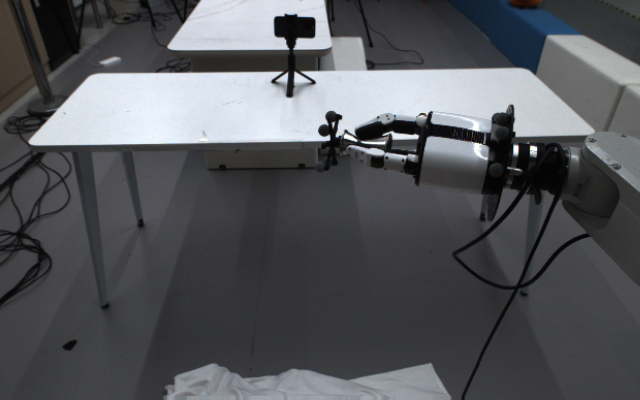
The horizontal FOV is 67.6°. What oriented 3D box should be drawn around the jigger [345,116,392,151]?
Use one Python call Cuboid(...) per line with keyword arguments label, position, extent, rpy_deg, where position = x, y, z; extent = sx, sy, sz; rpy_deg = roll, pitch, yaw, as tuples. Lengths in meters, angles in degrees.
Cuboid(label="jigger", position=(0.072, -0.081, 0.700), extent=(0.071, 0.043, 0.043), rpy_deg=(9, 35, 17))
